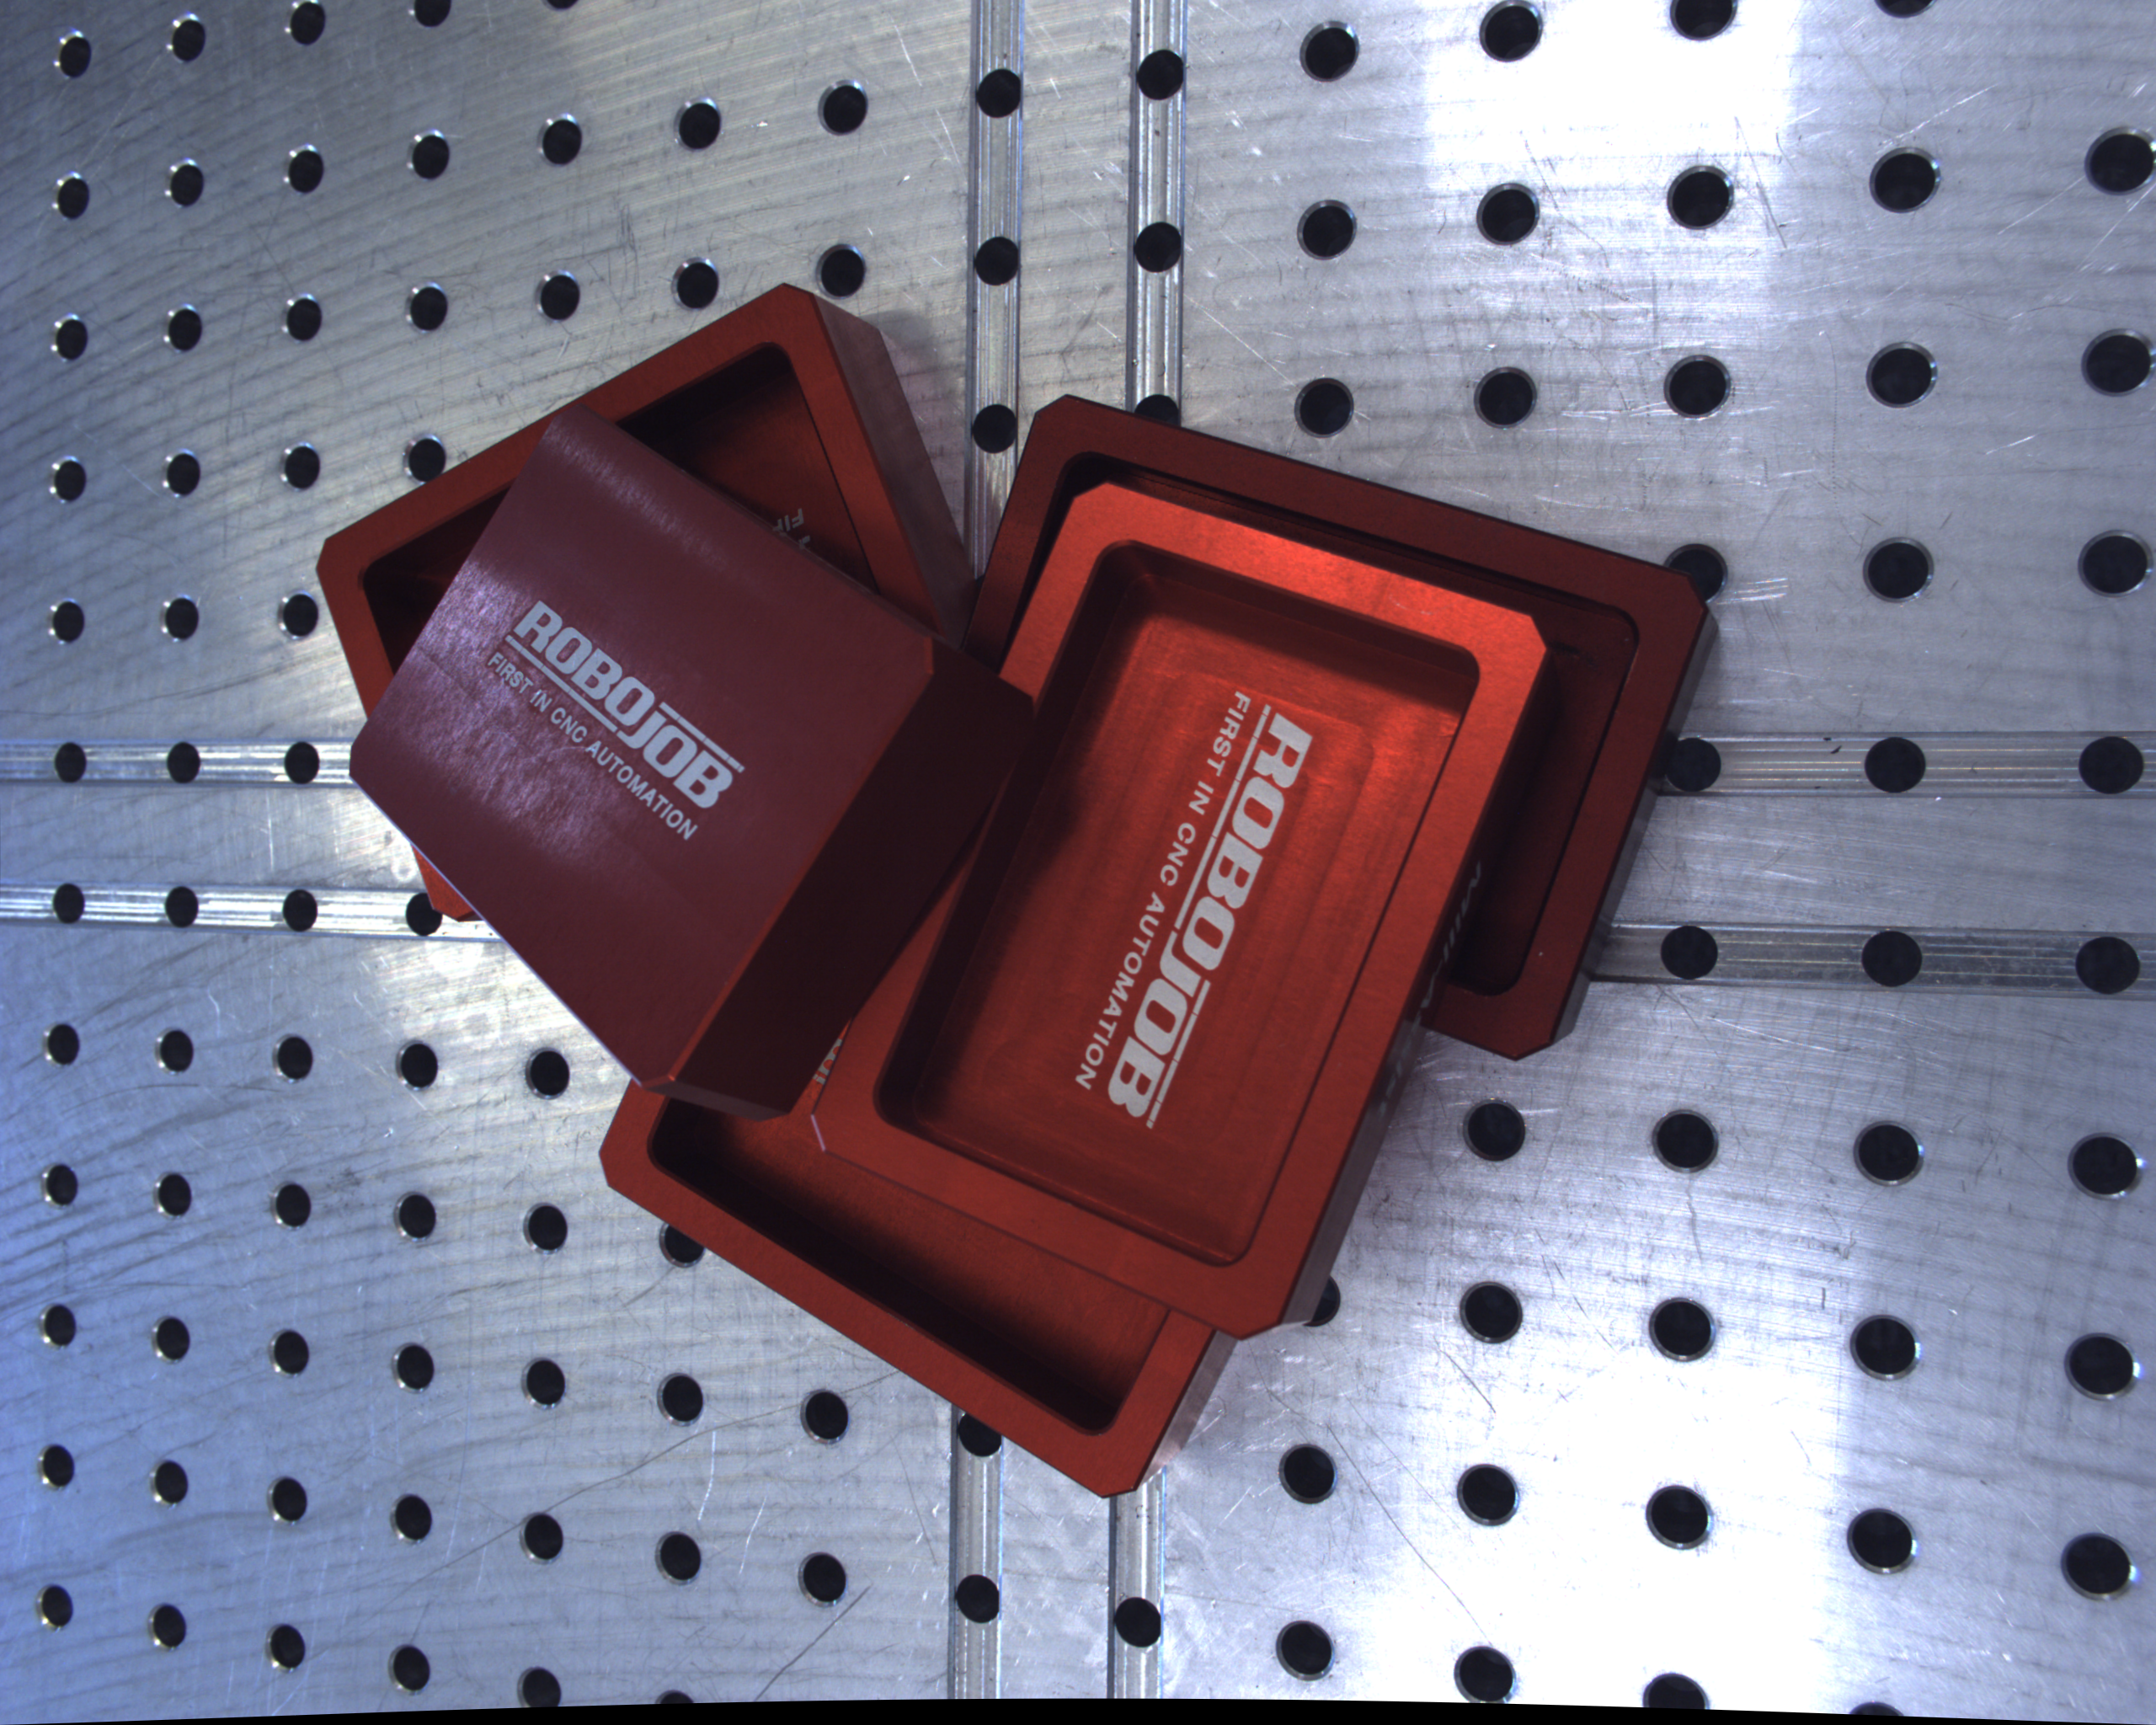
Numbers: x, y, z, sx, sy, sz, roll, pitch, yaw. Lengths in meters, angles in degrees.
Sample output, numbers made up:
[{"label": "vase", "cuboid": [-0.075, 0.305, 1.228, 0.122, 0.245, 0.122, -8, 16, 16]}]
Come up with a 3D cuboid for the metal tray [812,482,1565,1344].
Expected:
[{"label": "metal tray", "cuboid": [0.020, 0.008, 0.370, 0.090, 0.030, 0.130, 21, 85, 19]}]

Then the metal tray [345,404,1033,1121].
[{"label": "metal tray", "cuboid": [-0.079, -0.023, 0.395, 0.130, 0.030, 0.090, 36, 94, 39]}]

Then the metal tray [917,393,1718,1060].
[{"label": "metal tray", "cuboid": [0.042, -0.027, 0.394, 0.130, 0.030, 0.090, 20, 96, 19]}]

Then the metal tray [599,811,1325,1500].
[{"label": "metal tray", "cuboid": [-0.022, 0.053, 0.418, 0.130, 0.030, 0.090, 28, 99, 18]}]

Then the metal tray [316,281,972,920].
[{"label": "metal tray", "cuboid": [-0.090, -0.052, 0.442, 0.130, 0.030, 0.090, -24, 82, 19]}]
